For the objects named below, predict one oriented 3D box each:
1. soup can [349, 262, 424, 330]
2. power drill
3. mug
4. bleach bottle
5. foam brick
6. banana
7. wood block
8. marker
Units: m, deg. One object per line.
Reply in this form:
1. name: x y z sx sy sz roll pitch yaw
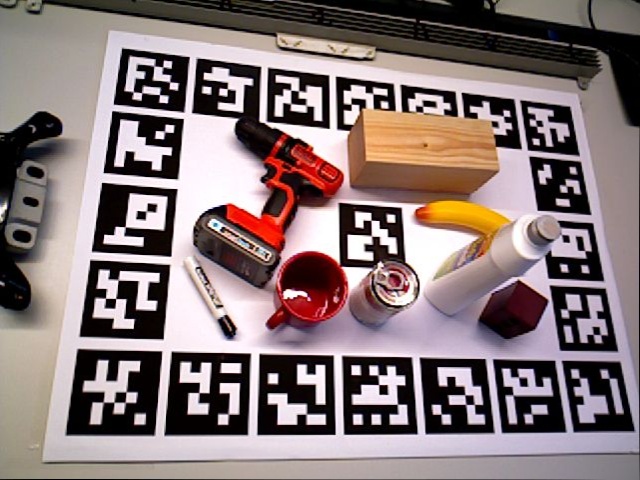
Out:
1. soup can: 0.084 0.072 0.706 0.067 0.104 0.067 6 64 -13
2. power drill: -0.076 -0.060 0.754 0.184 0.058 0.184 32 65 -3
3. mug: -0.024 0.073 0.697 0.093 0.083 0.115 45 70 4
4. bleach bottle: 0.220 0.027 0.678 0.068 0.256 0.101 31 64 1
5. foam brick: 0.277 0.109 0.758 0.052 0.079 0.050 35 63 4
6. banana: 0.229 -0.027 0.815 0.196 0.039 0.074 20 80 -8
7. wood block: 0.155 -0.125 0.809 0.204 0.092 0.089 3 70 -12
8. marker: -0.144 0.080 0.705 0.019 0.020 0.121 -26 79 -19
